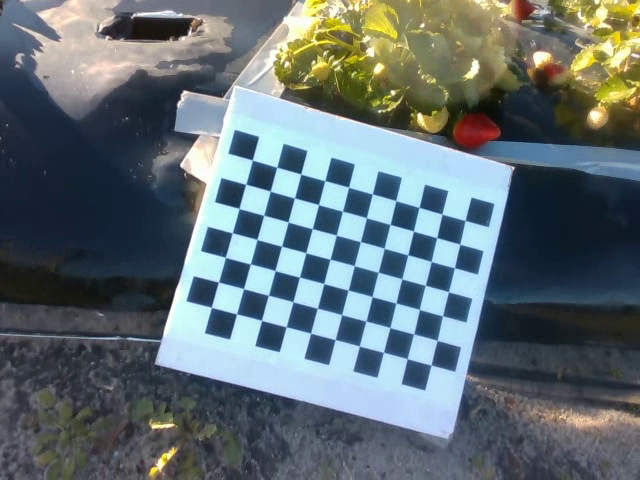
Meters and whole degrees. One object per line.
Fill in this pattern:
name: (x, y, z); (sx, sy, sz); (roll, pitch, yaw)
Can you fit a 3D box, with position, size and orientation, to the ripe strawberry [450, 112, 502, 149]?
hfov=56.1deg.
ripe strawberry: (0.167, -0.114, 0.629); (0.049, 0.045, 0.064); (43, -7, -30)
